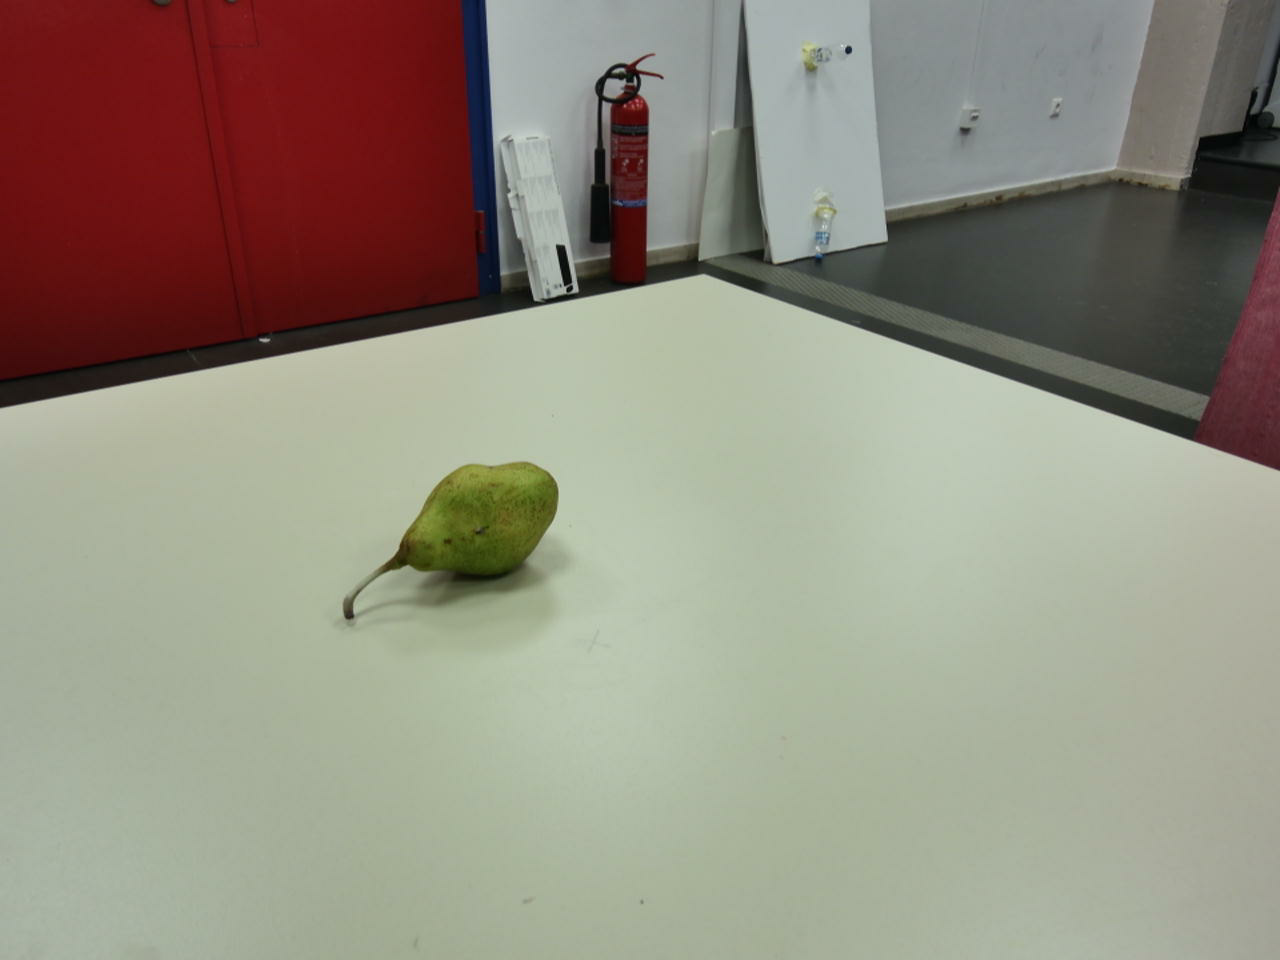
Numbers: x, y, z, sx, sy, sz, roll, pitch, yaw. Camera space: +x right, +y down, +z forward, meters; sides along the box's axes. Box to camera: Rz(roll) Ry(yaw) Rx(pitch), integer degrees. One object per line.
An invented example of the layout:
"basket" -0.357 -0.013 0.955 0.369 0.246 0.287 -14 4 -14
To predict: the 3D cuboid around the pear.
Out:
"pear" -0.094 0.022 0.487 0.111 0.056 0.056 -10 27 -20
